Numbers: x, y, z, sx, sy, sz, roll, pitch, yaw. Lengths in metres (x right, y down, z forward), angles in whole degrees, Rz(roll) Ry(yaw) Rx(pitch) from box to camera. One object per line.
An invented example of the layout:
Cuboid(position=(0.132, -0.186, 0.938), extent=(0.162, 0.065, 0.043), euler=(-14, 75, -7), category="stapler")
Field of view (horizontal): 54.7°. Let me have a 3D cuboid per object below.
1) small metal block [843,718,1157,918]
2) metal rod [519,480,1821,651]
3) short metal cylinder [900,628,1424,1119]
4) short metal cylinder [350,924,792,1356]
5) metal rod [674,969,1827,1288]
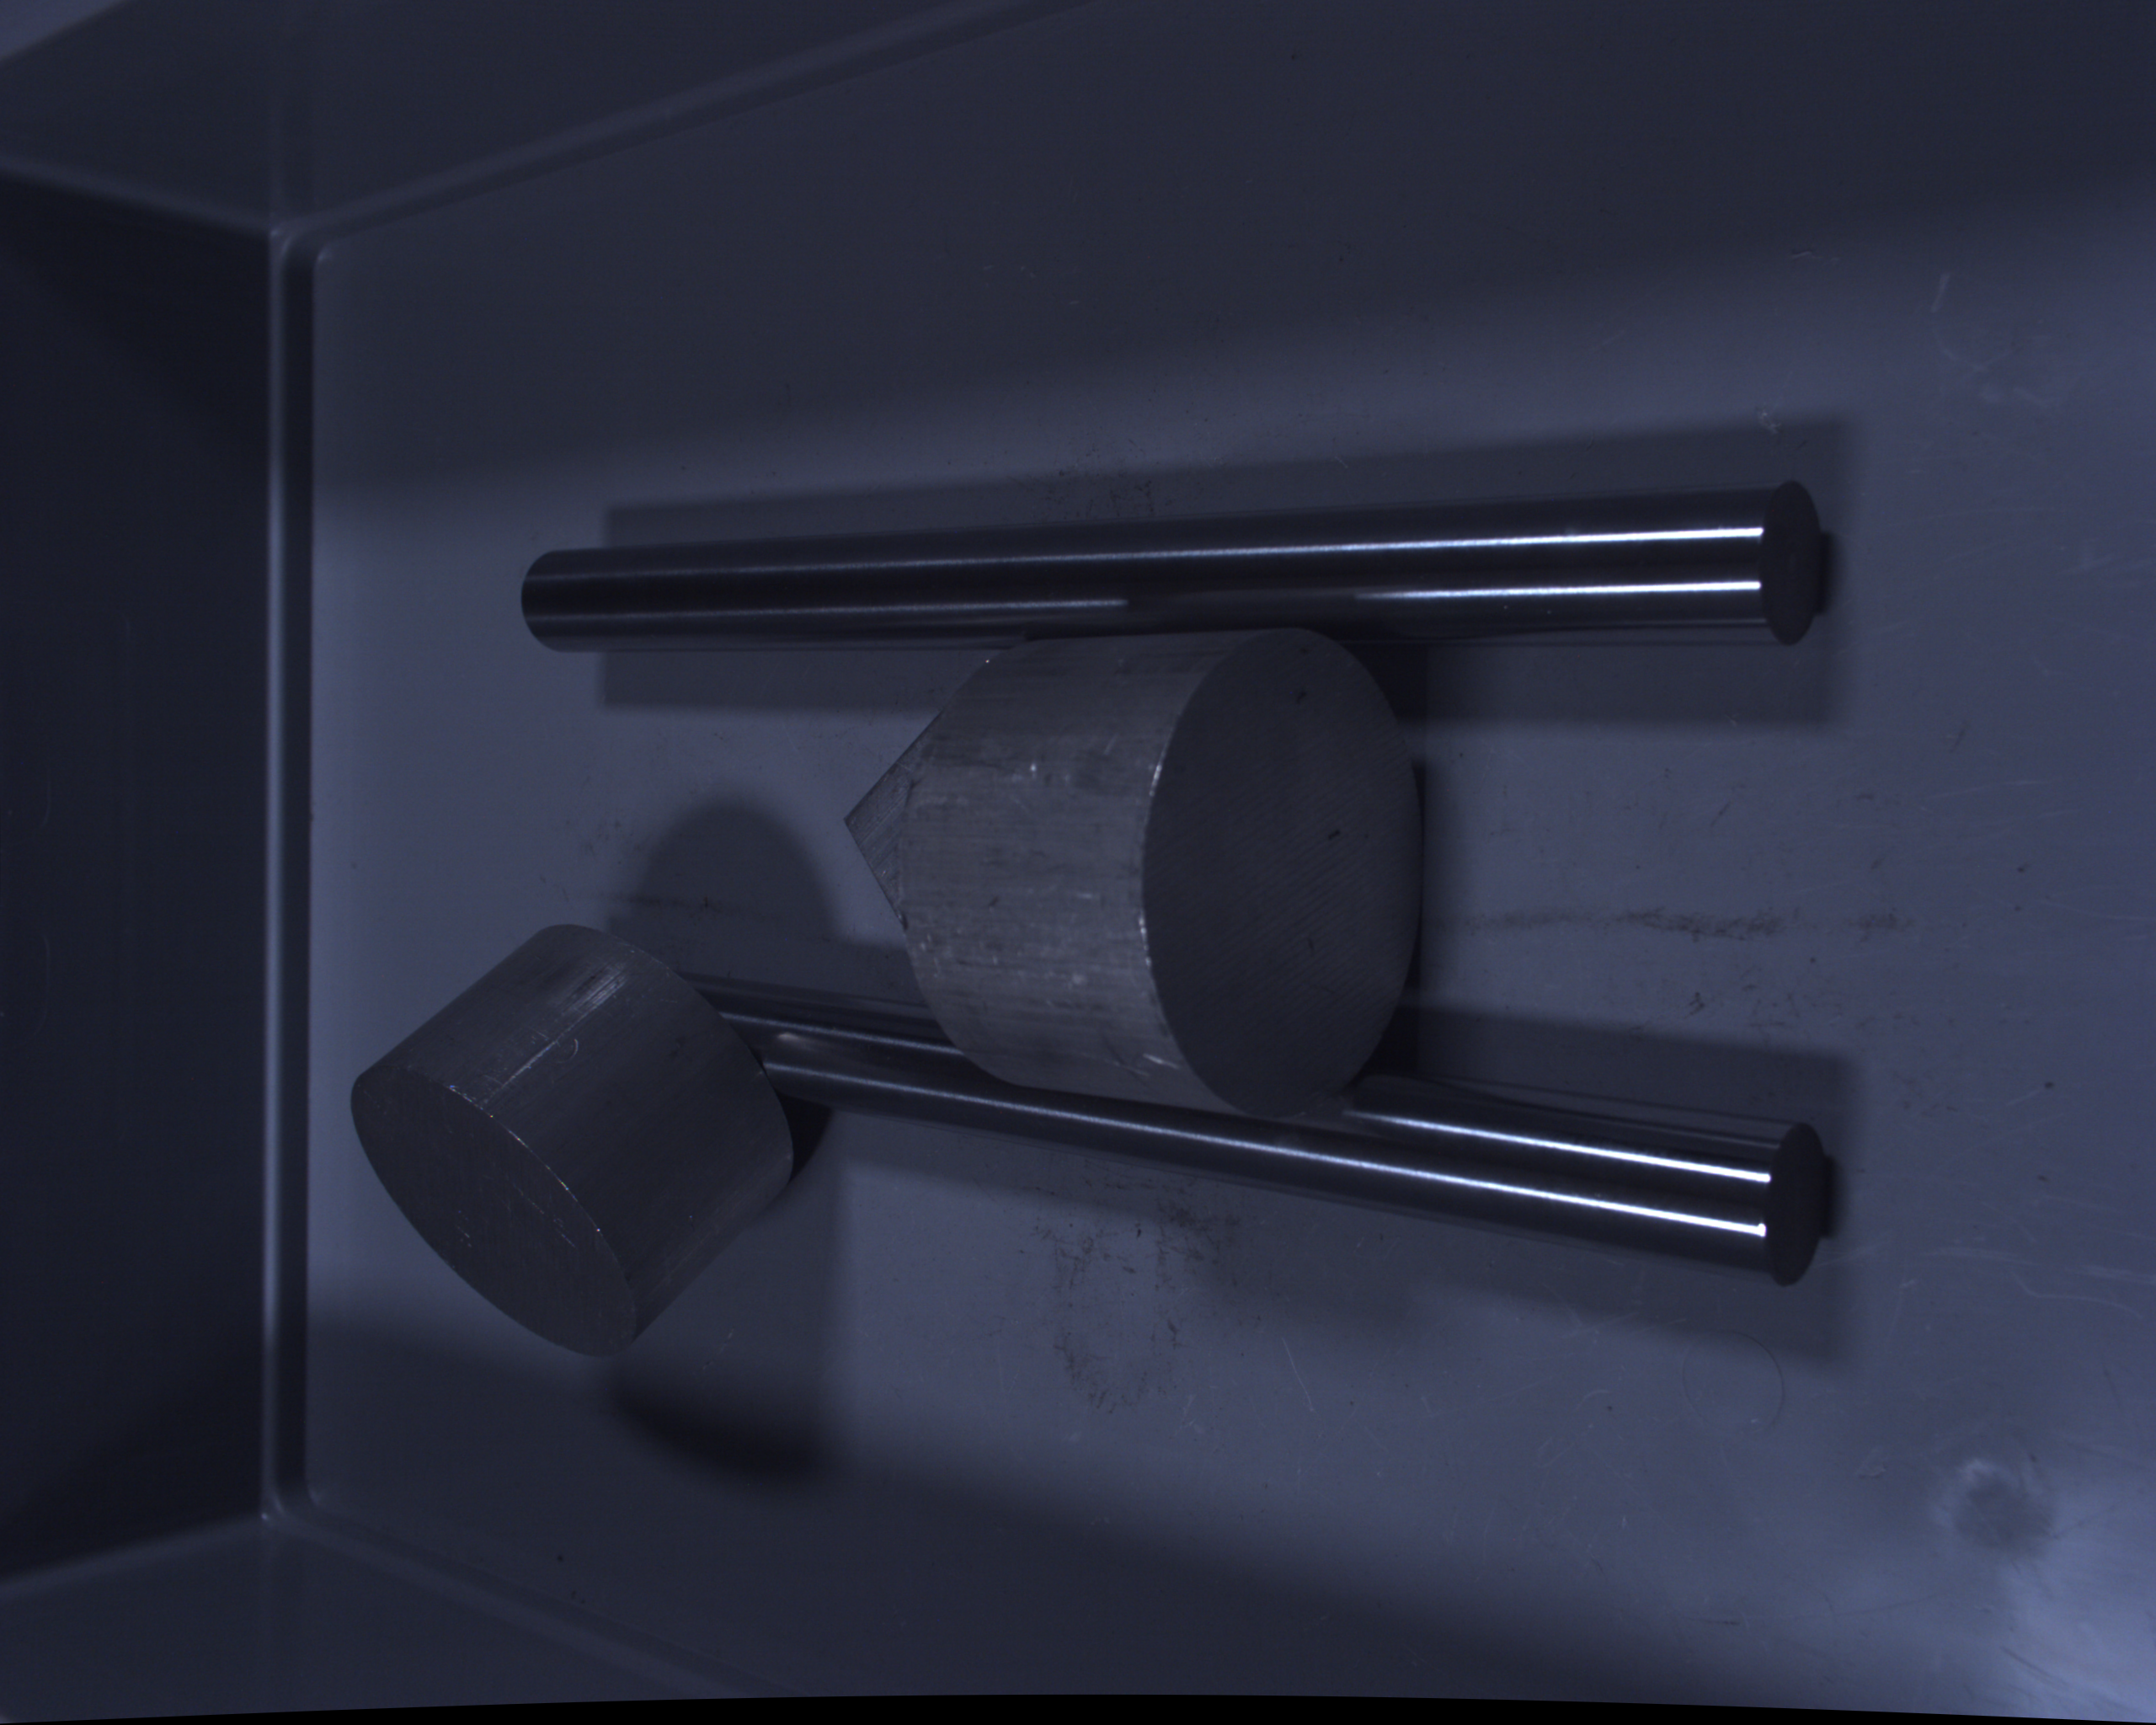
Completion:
Cuboid(position=(-0.013, -0.004, 0.413), extent=(0.050, 0.025, 0.050), euler=(-45, 63, 30), category="small metal block")
Cuboid(position=(-0.009, -0.054, 0.409), extent=(0.300, 0.025, 0.025), euler=(5, 93, 39), category="metal rod")
Cuboid(position=(0.016, 0.001, 0.354), extent=(0.050, 0.081, 0.079), euler=(2, 92, 40), category="short metal cylinder")
Cuboid(position=(-0.110, 0.060, 0.454), extent=(0.080, 0.050, 0.079), euler=(24, 137, 24), category="short metal cylinder")
Cuboid(position=(-0.008, 0.043, 0.409), extent=(0.300, 0.025, 0.025), euler=(4, 93, 39), category="metal rod")
